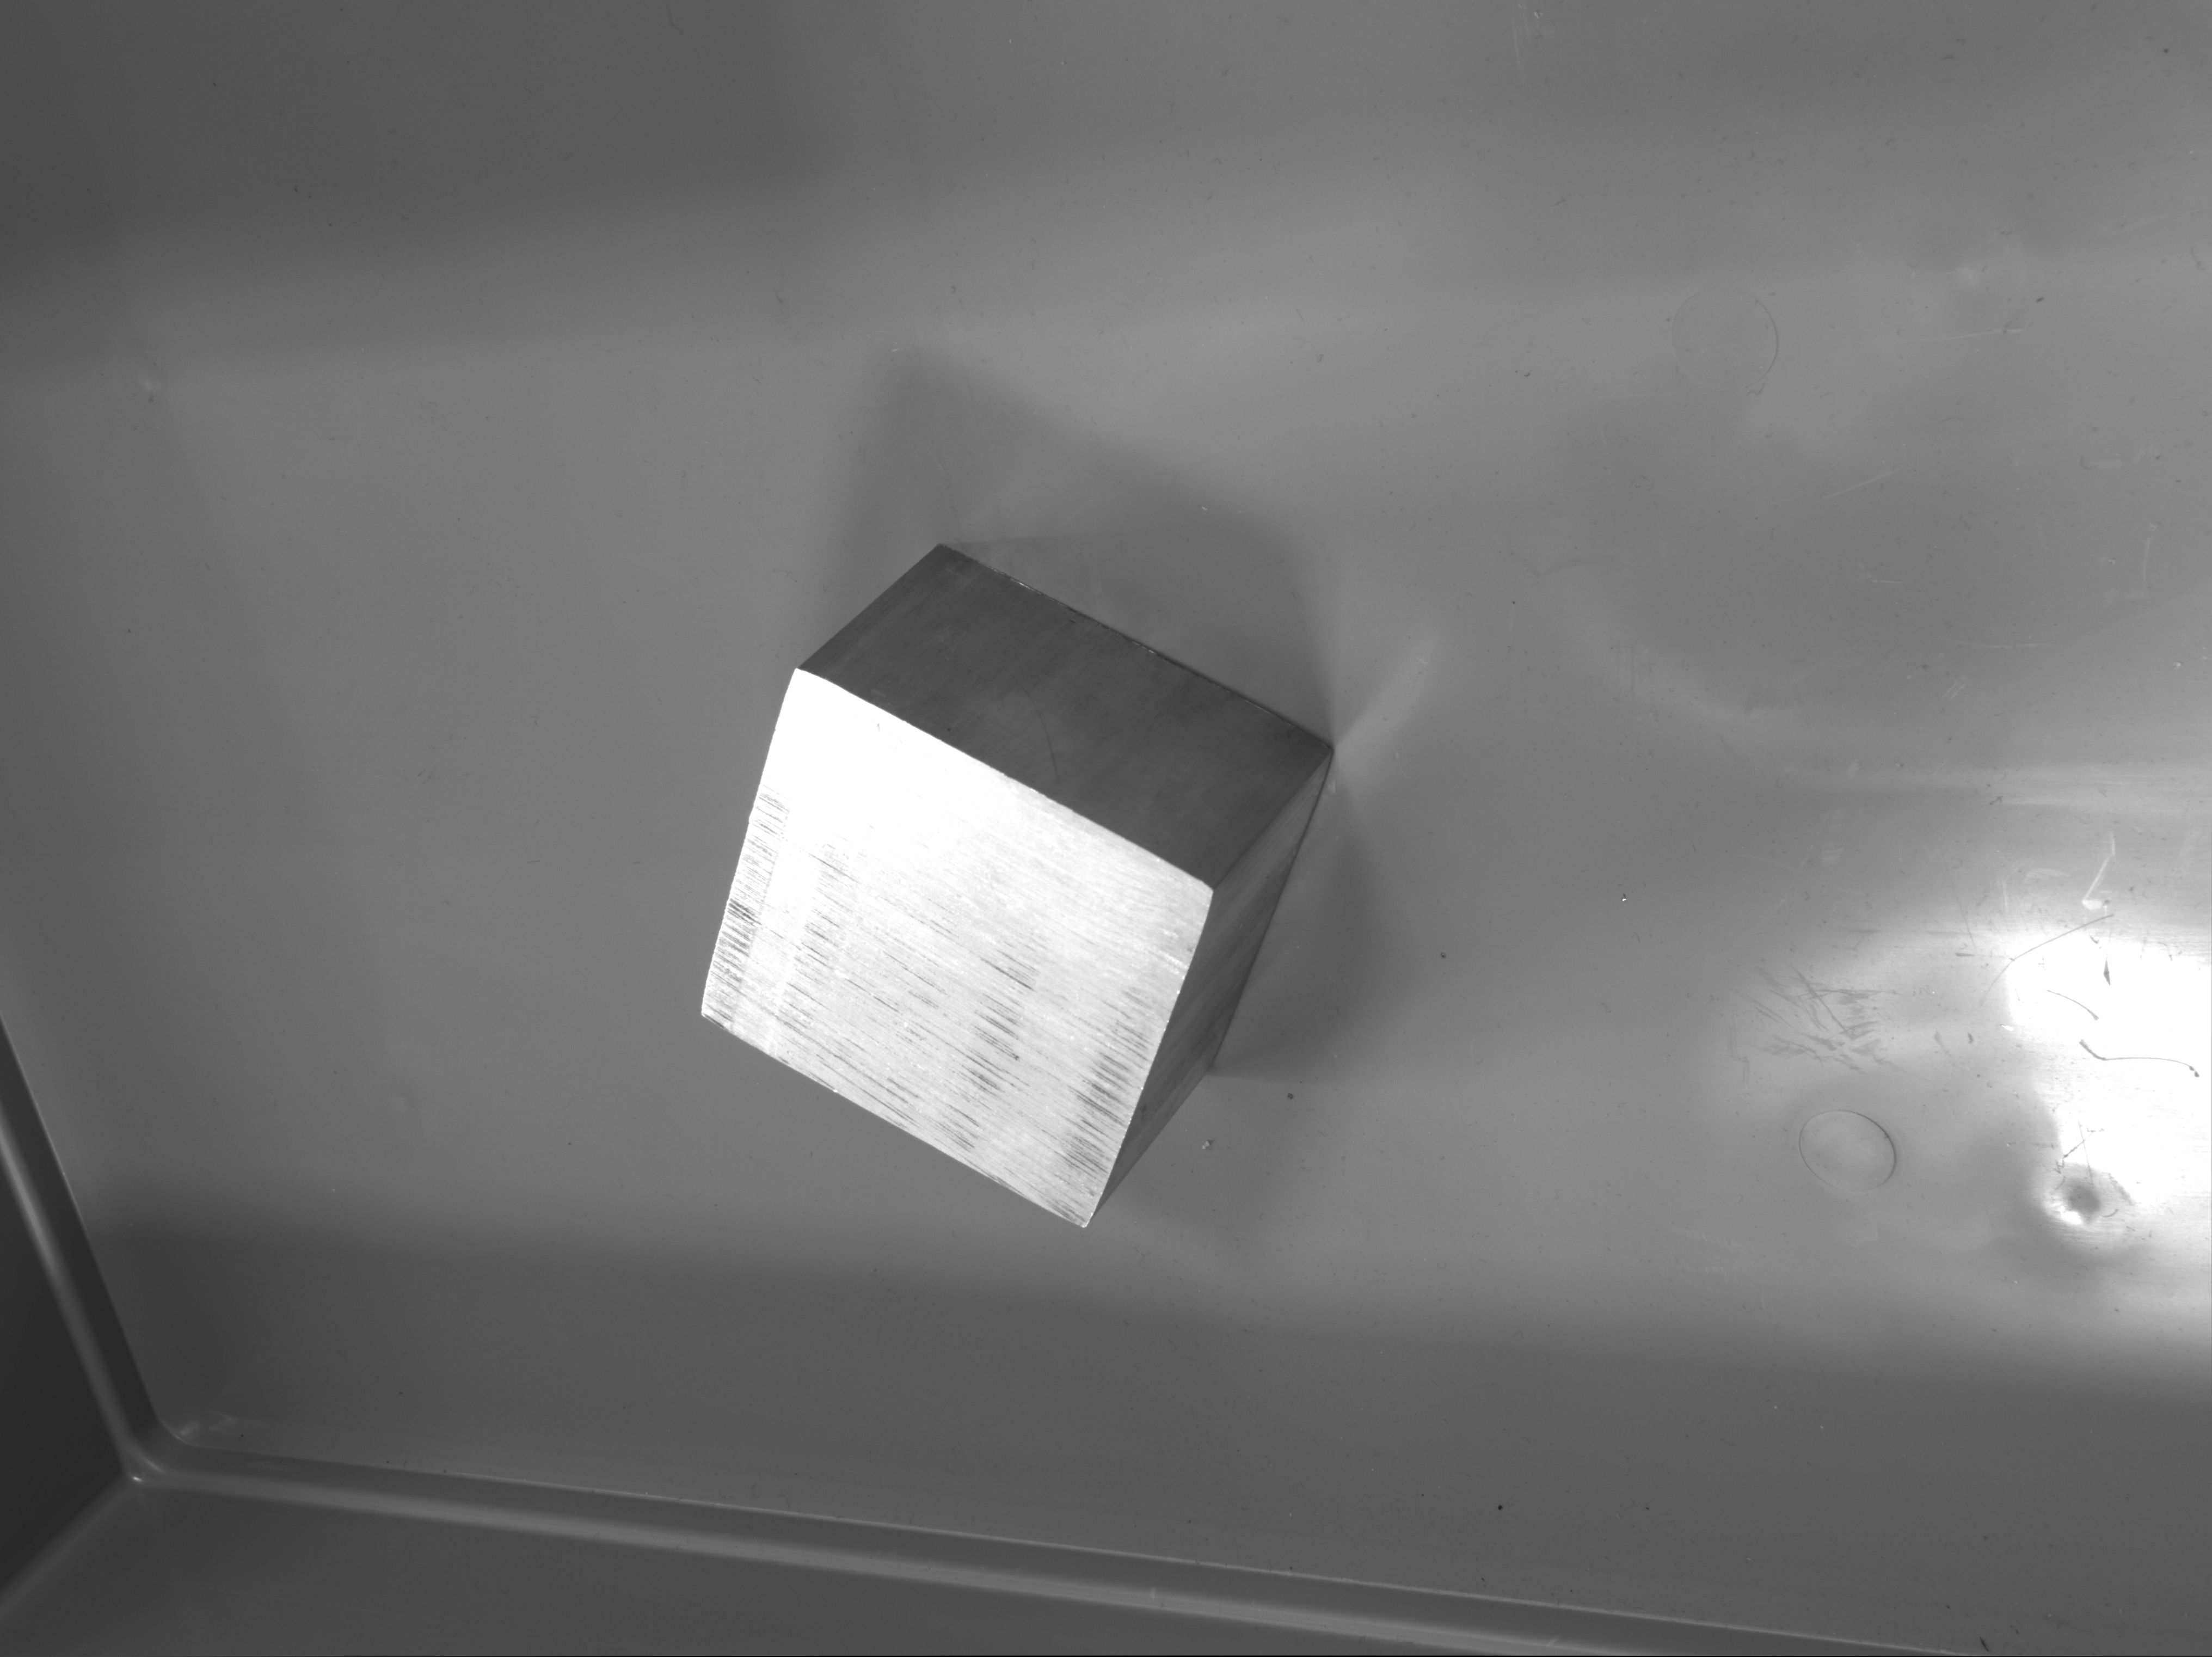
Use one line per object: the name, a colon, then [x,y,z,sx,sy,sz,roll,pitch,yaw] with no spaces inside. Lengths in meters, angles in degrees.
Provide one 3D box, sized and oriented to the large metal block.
large metal block: [-0.017,0.010,0.638,0.080,0.050,0.080,28,127,11]
